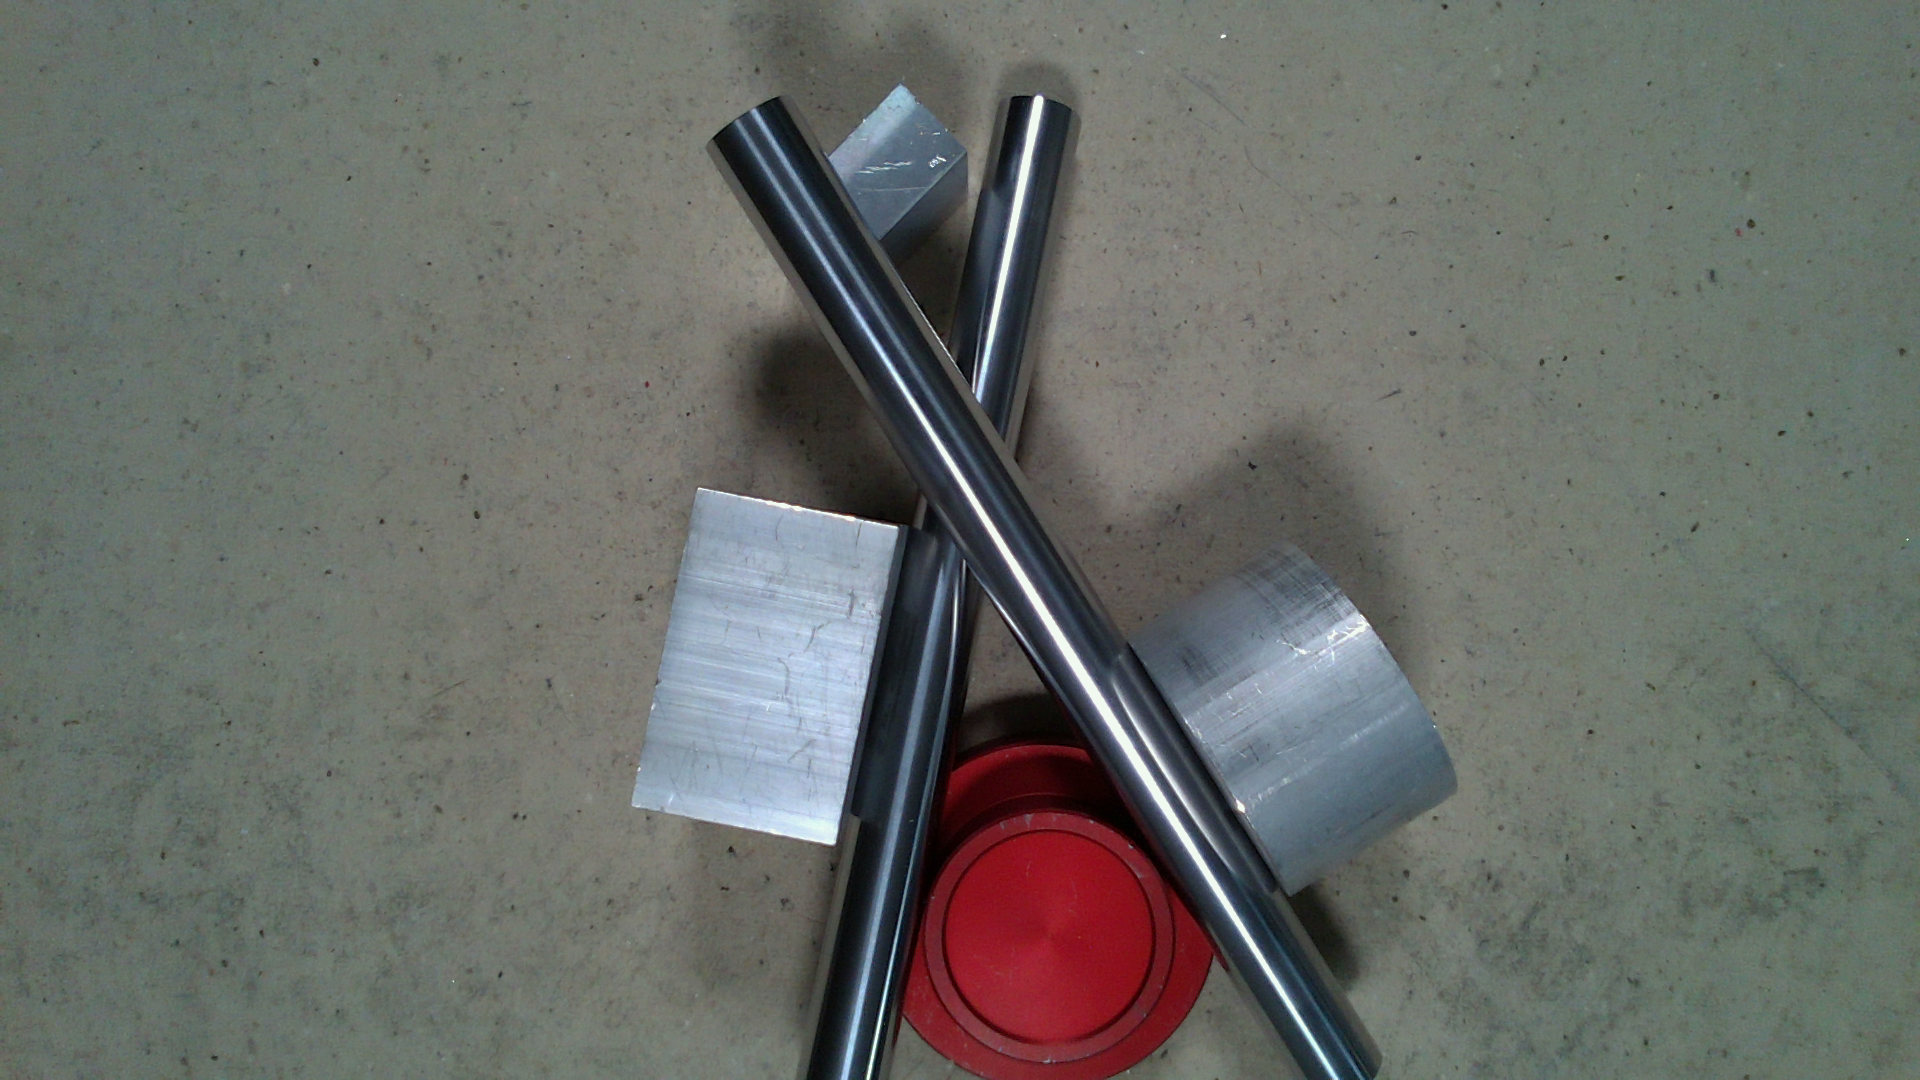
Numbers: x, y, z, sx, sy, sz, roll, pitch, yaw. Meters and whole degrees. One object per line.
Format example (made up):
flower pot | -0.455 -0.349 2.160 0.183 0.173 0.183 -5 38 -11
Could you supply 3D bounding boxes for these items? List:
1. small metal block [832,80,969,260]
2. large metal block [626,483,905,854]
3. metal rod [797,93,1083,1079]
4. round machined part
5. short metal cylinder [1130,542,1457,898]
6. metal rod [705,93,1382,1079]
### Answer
small metal block | -0.024 -0.093 0.382 0.025 0.050 0.050 45 90 0
large metal block | -0.047 0.030 0.368 0.050 0.080 0.080 12 90 0
metal rod | -0.007 0.024 0.380 0.025 0.025 0.300 11 84 0
round machined part | 0.024 0.107 0.388 0.098 0.042 0.098 0 90 0
short metal cylinder | 0.087 0.048 0.369 0.050 0.080 0.080 -32 90 0
metal rod | 0.027 0.023 0.361 0.025 0.025 0.300 -32 99 0
